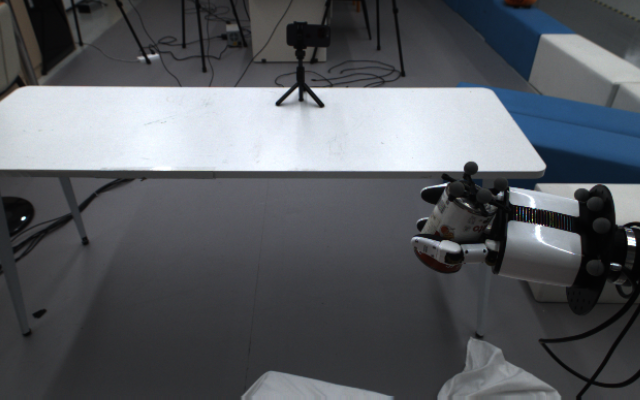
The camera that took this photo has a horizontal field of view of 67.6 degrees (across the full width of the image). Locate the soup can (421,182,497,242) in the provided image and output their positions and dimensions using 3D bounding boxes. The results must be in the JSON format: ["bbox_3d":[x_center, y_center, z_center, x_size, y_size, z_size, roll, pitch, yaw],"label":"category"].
[{"bbox_3d":[0.171,0.033,0.612,0.067,0.101,0.067,14,35,-10],"label":"soup can"}]
